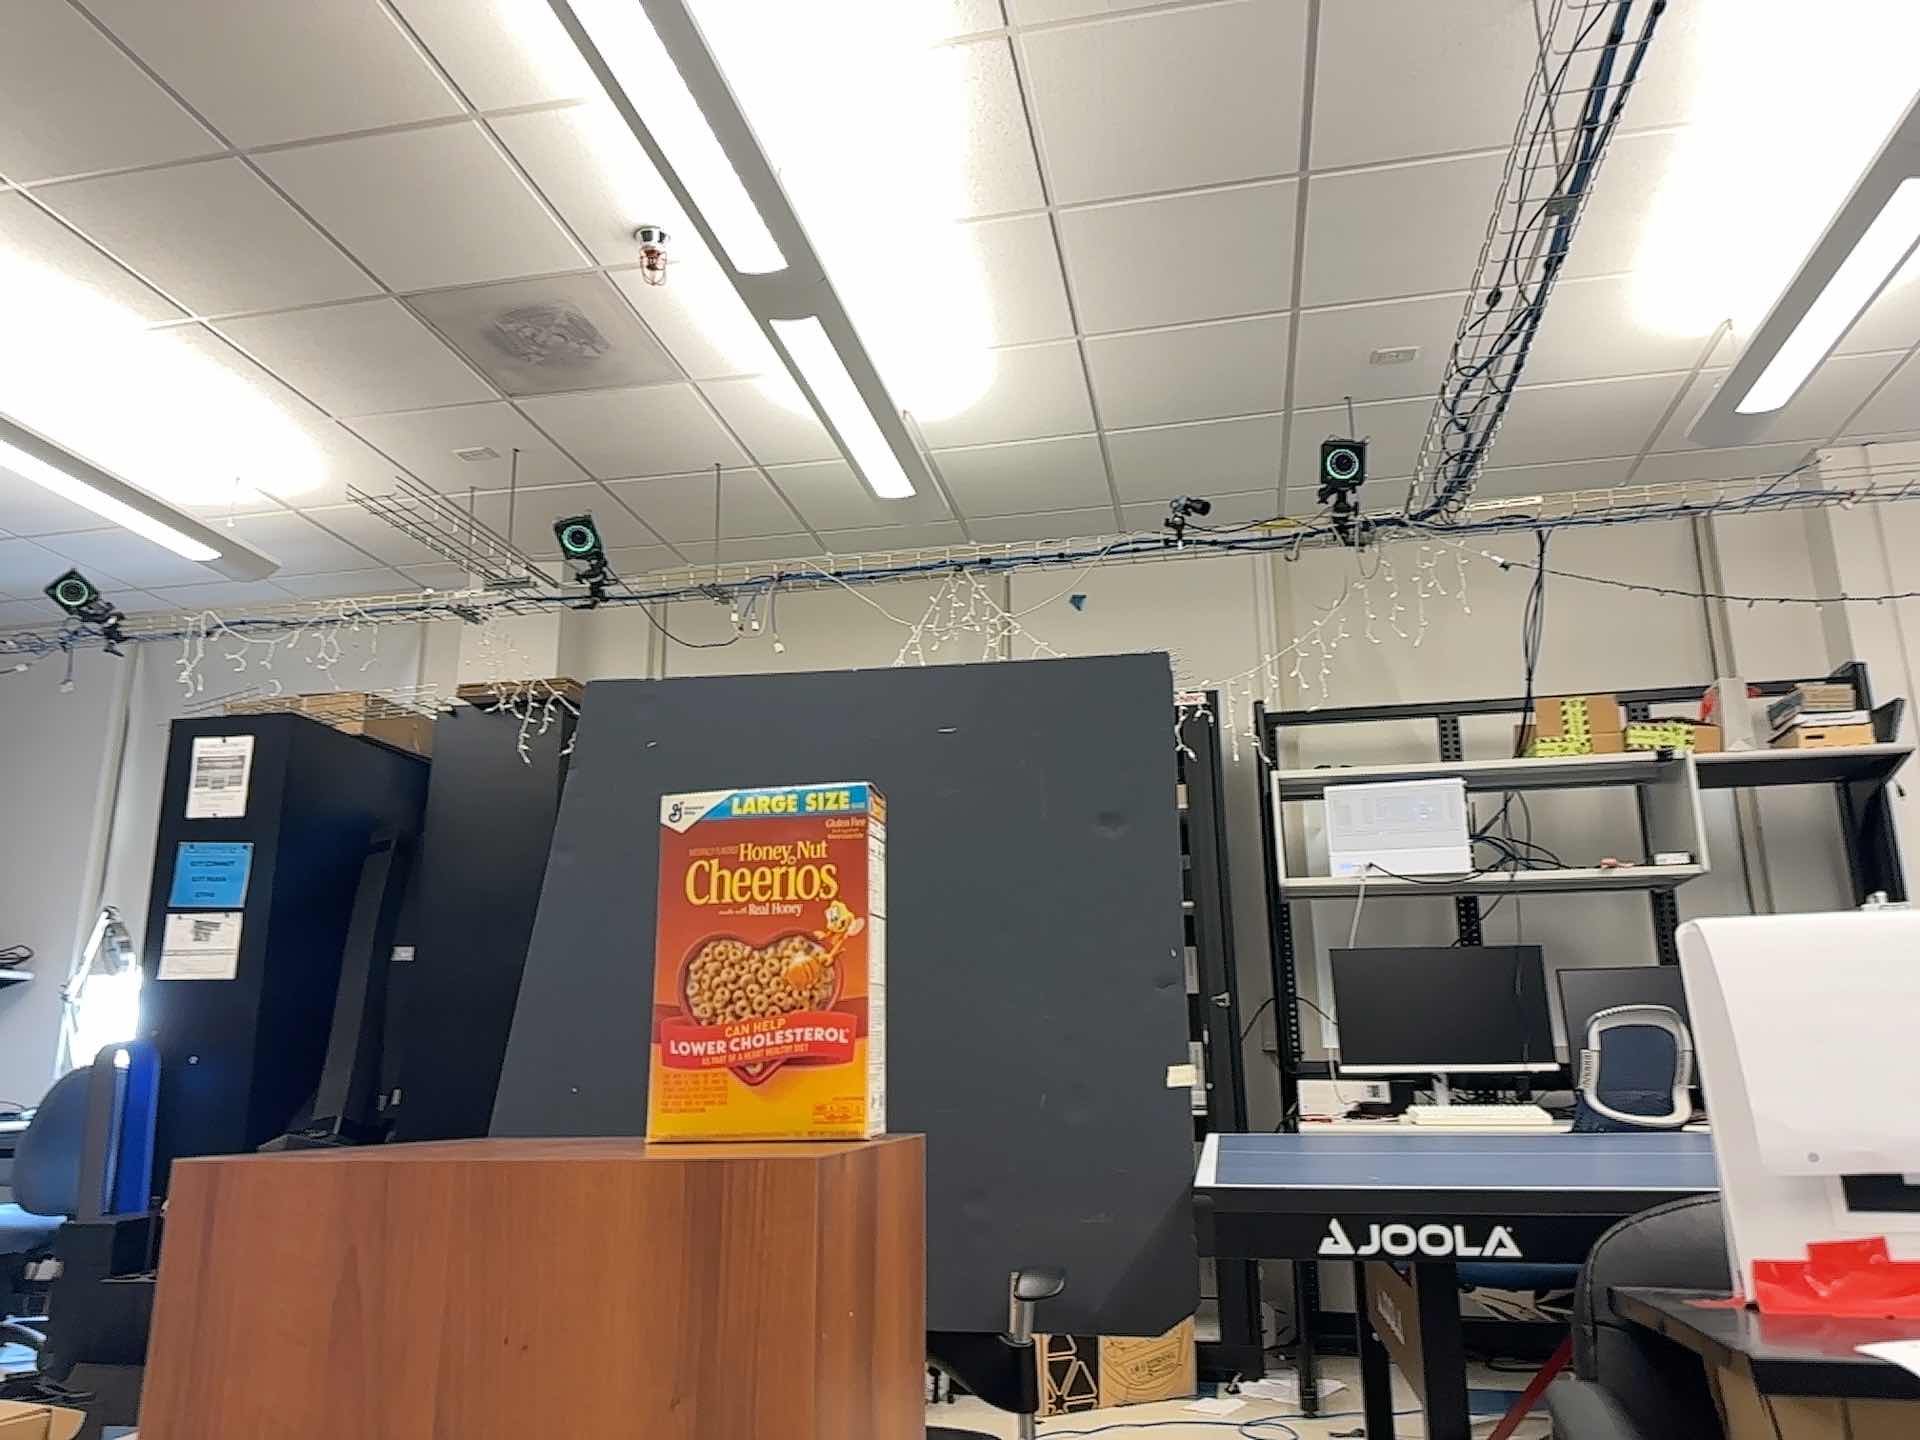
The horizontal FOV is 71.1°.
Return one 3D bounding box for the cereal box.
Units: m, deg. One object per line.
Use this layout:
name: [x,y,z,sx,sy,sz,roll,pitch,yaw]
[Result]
cereal box: [-0.173,0.207,1.186,0.195,0.297,0.065,-5,-12,18]
